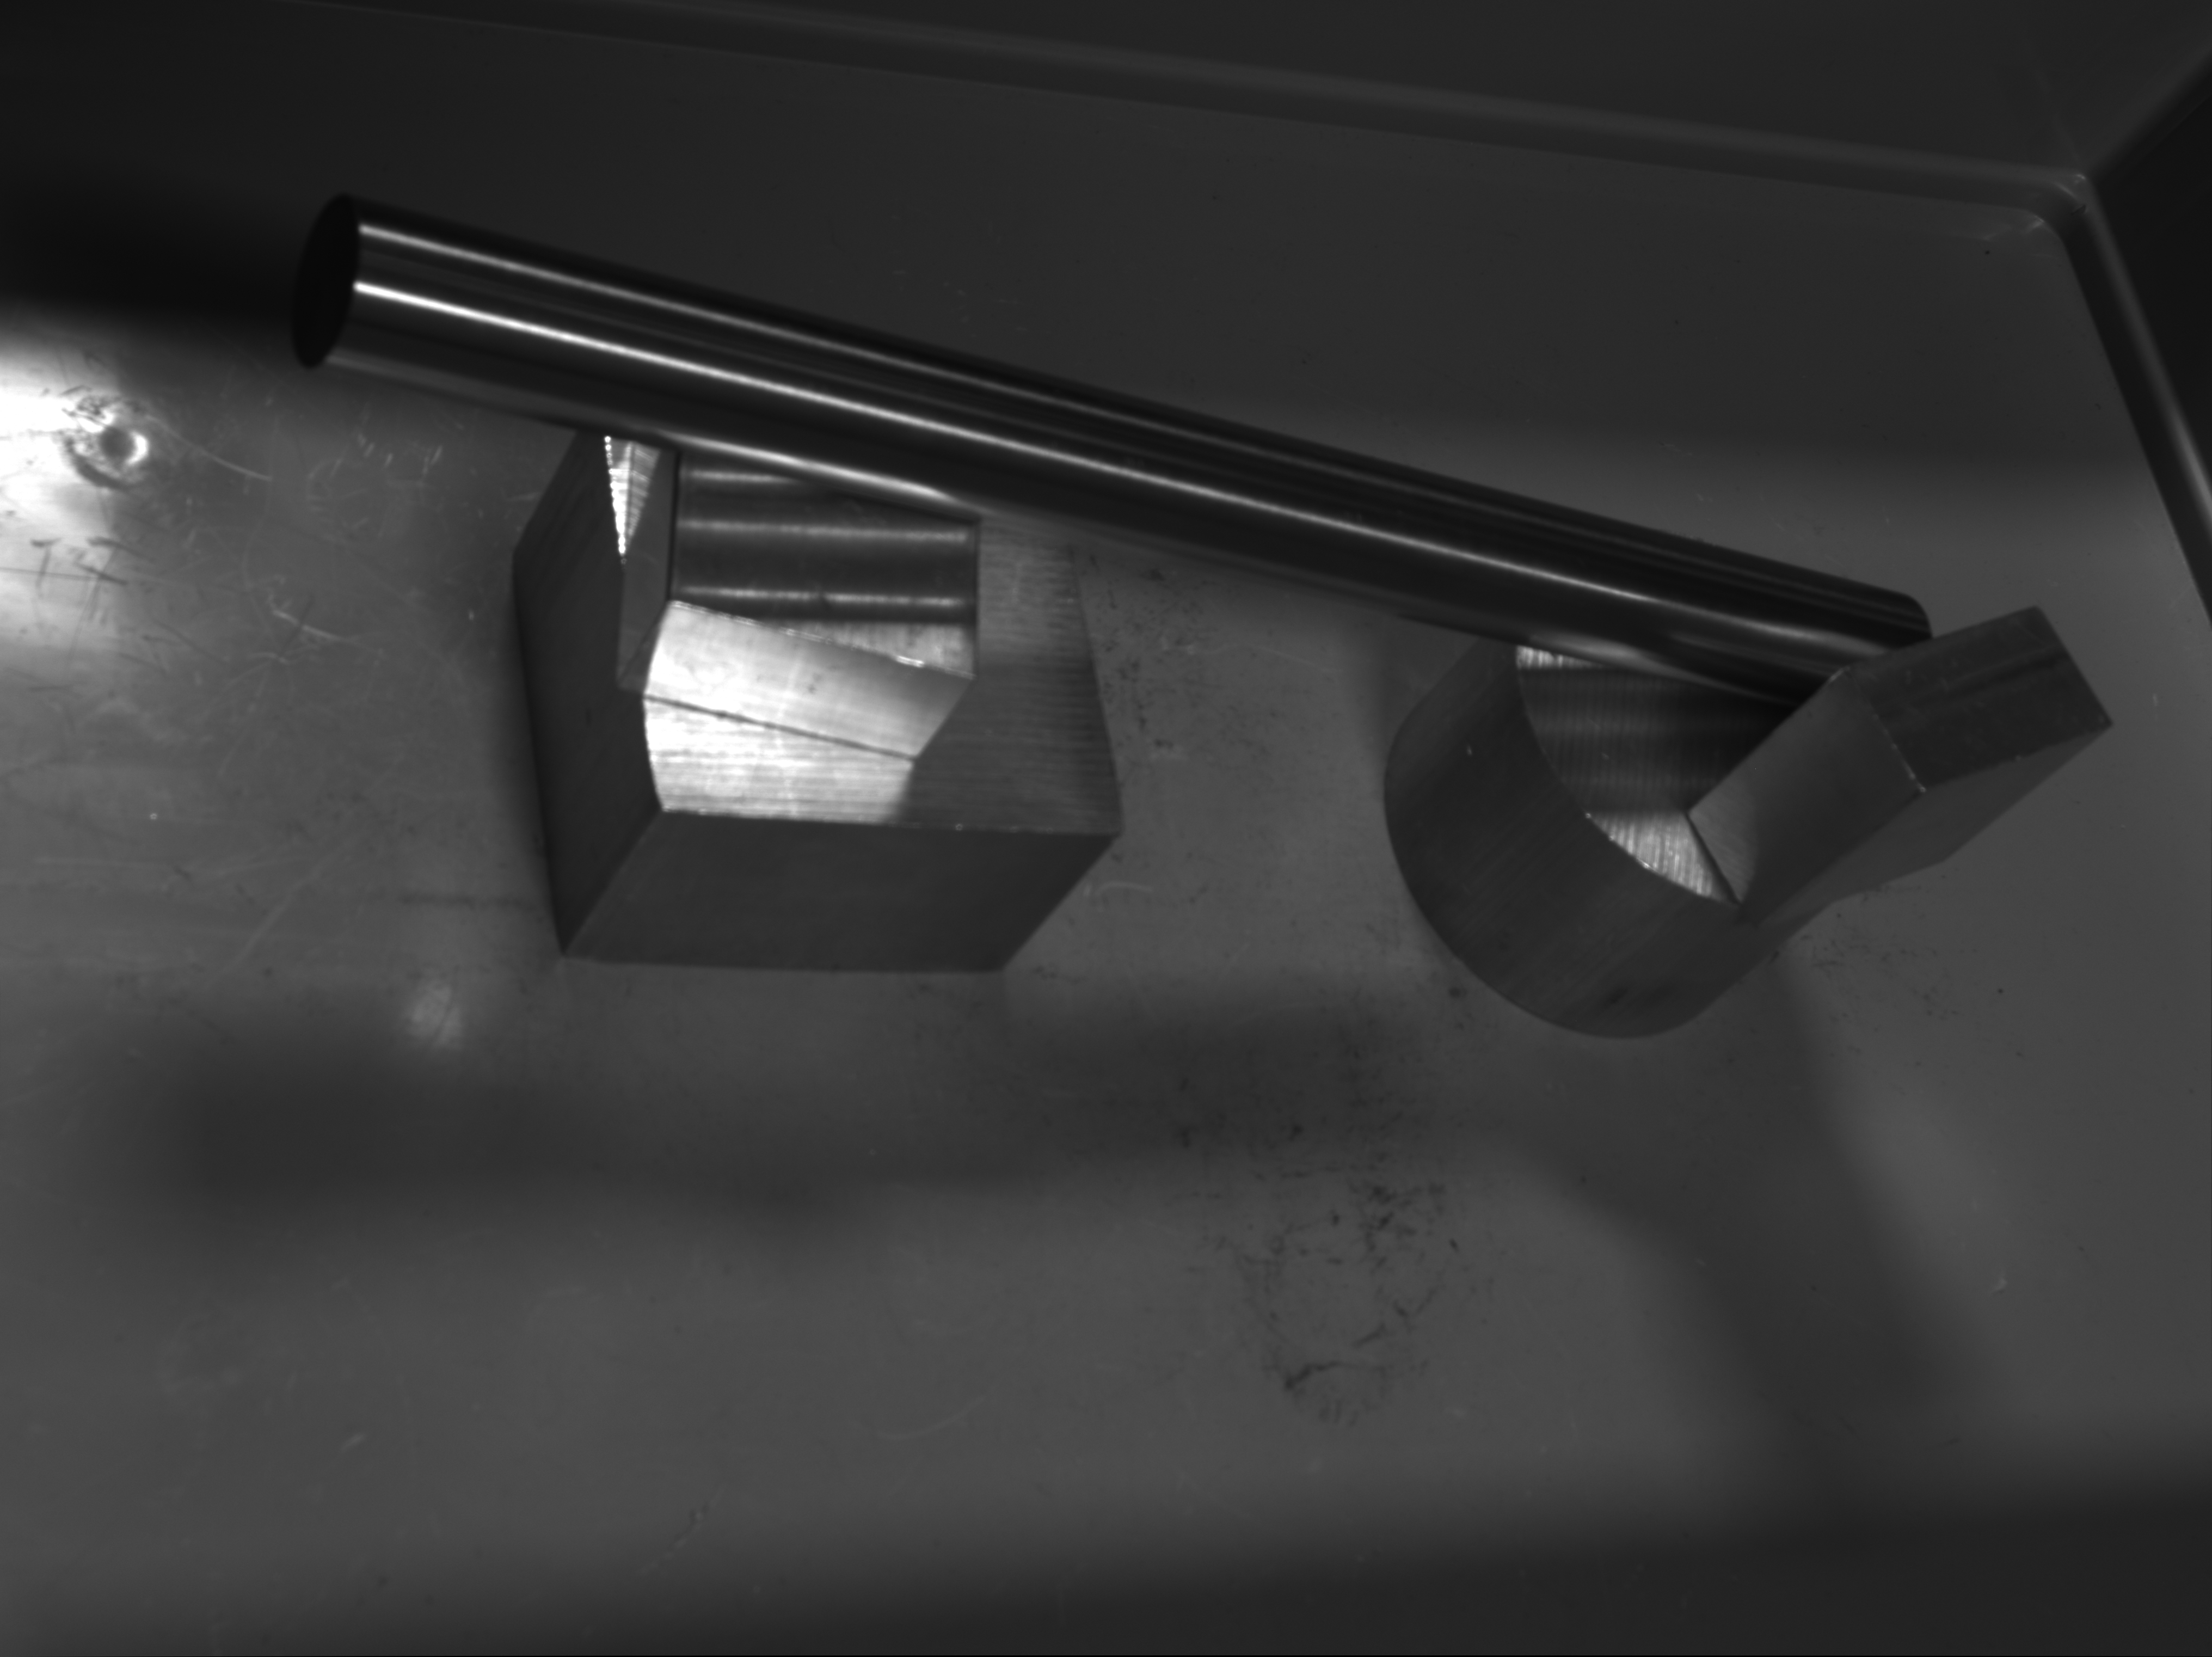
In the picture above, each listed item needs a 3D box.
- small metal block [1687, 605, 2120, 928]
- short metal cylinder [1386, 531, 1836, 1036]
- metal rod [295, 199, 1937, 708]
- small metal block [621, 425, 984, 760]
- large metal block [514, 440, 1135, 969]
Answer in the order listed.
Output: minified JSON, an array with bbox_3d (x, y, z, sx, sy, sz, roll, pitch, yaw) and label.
[{"bbox_3d":[0.138,-0.011,0.637,0.050,0.050,0.025,-15,70,-34],"label":"small metal block"},{"bbox_3d":[0.099,-0.008,0.681,0.080,0.050,0.080,14,56,-21],"label":"short metal cylinder"},{"bbox_3d":[0.017,-0.053,0.589,0.301,0.025,0.025,10,57,-32],"label":"metal rod"},{"bbox_3d":[-0.047,-0.043,0.575,0.050,0.025,0.050,13,56,-21],"label":"small metal block"},{"bbox_3d":[-0.048,-0.025,0.610,0.080,0.050,0.080,3,60,-27],"label":"large metal block"}]
